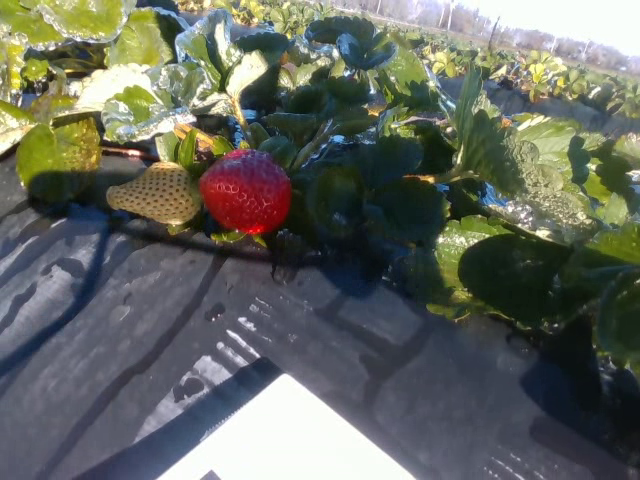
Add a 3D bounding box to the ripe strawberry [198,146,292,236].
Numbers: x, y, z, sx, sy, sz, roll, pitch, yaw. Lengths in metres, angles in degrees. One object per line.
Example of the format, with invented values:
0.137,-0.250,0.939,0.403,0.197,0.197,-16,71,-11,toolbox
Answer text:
-0.039,-0.021,0.289,0.042,0.046,0.061,17,6,28,ripe strawberry
